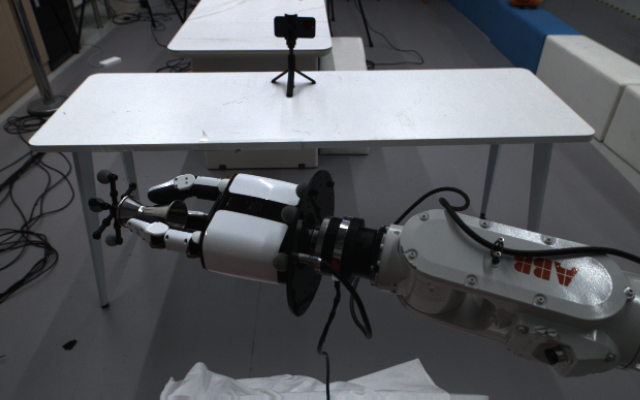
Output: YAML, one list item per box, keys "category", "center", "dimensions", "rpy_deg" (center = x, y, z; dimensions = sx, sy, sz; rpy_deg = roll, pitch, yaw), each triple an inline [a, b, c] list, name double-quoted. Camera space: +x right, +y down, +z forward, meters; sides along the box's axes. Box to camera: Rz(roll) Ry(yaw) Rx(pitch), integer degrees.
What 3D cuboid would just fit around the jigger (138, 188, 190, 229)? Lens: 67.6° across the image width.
- category: "jigger"
  center: [-0.190, 0.015, 0.571]
  dimensions: [0.071, 0.043, 0.043]
  rpy_deg: [6, 35, 15]
